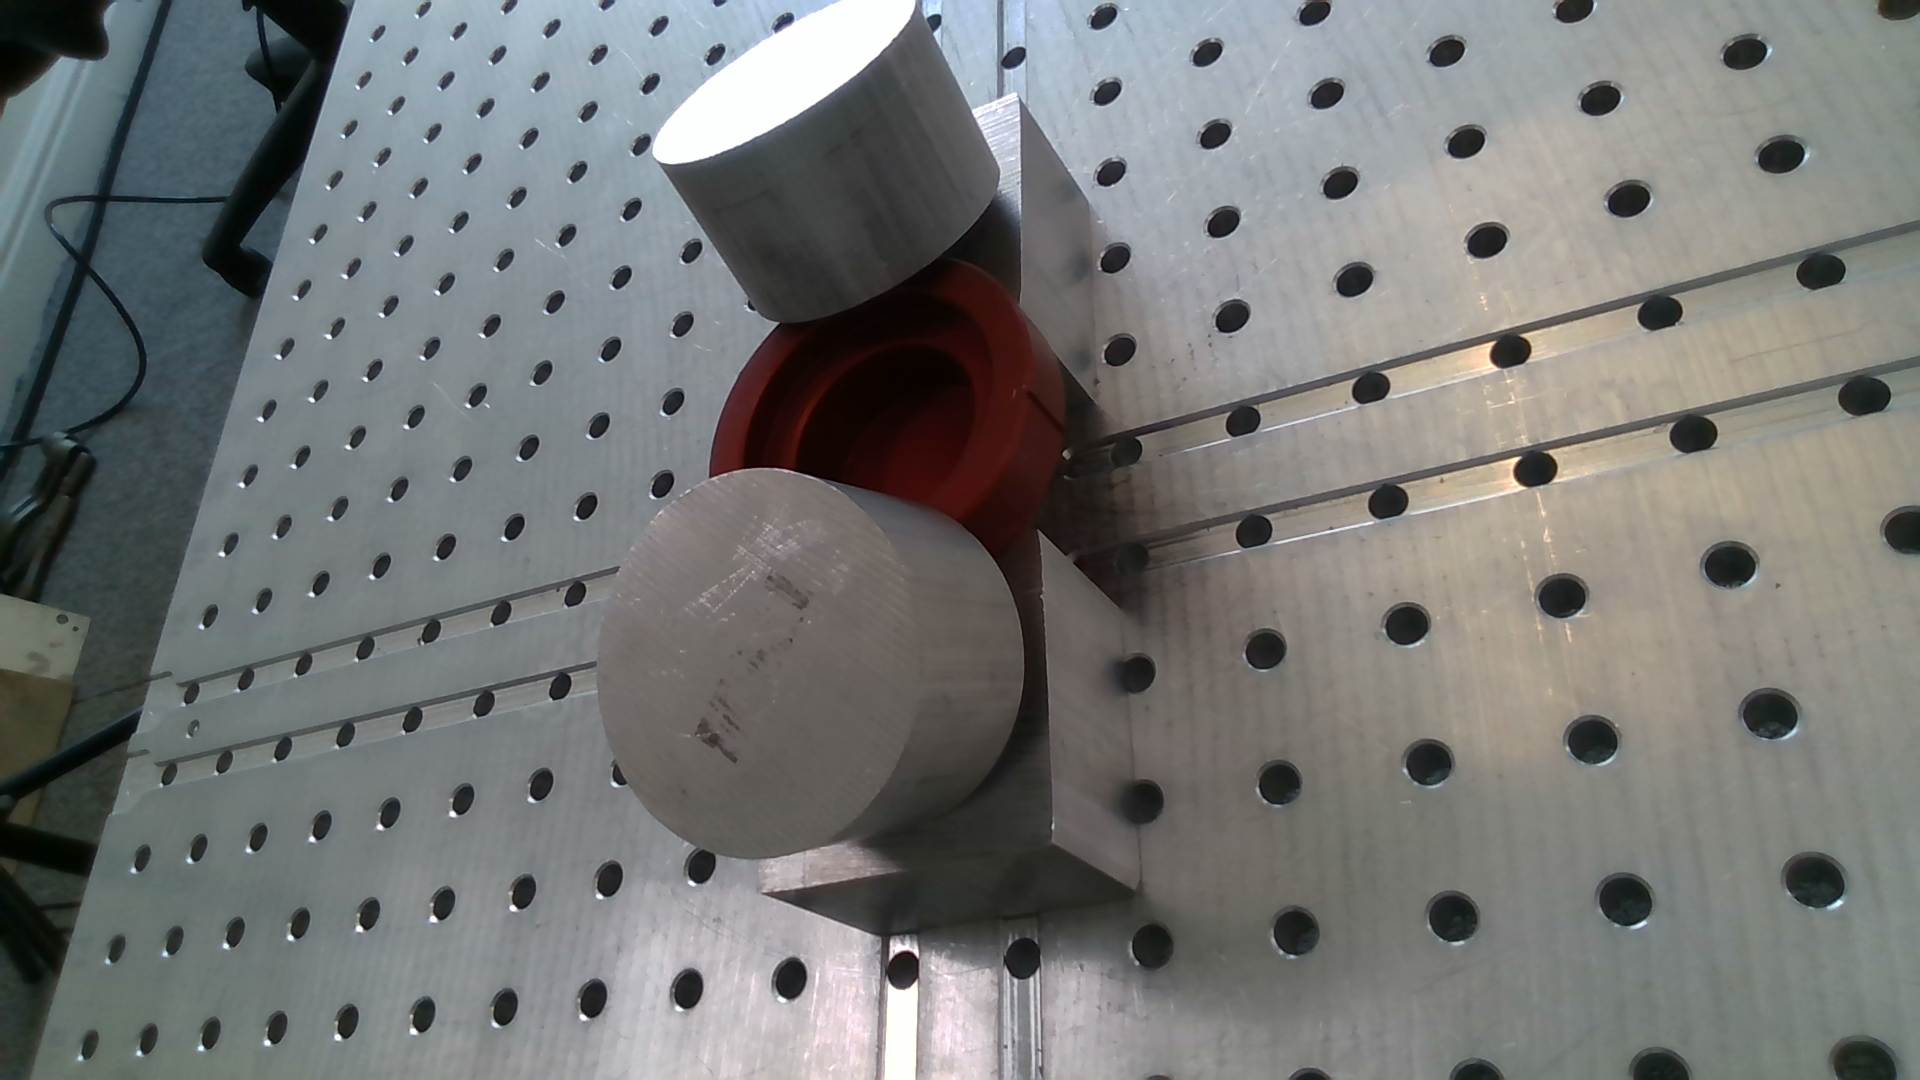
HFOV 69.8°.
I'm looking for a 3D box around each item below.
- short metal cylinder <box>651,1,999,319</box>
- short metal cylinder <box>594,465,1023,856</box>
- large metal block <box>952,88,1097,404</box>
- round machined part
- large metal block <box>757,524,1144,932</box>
[{"bbox_3d":[-0.036,-0.106,0.377,0.080,0.050,0.080,-22,35,16],"label":"short metal cylinder"},{"bbox_3d":[-0.033,0.027,0.305,0.080,0.050,0.080,-3,84,26],"label":"short metal cylinder"},{"bbox_3d":[-0.006,-0.079,0.425,0.080,0.050,0.080,-14,59,25],"label":"large metal block"},{"bbox_3d":[-0.016,-0.025,0.370,0.098,0.042,0.098,-14,59,25],"label":"round machined part"},{"bbox_3d":[-0.002,0.051,0.354,0.080,0.050,0.080,-15,58,24],"label":"large metal block"}]
